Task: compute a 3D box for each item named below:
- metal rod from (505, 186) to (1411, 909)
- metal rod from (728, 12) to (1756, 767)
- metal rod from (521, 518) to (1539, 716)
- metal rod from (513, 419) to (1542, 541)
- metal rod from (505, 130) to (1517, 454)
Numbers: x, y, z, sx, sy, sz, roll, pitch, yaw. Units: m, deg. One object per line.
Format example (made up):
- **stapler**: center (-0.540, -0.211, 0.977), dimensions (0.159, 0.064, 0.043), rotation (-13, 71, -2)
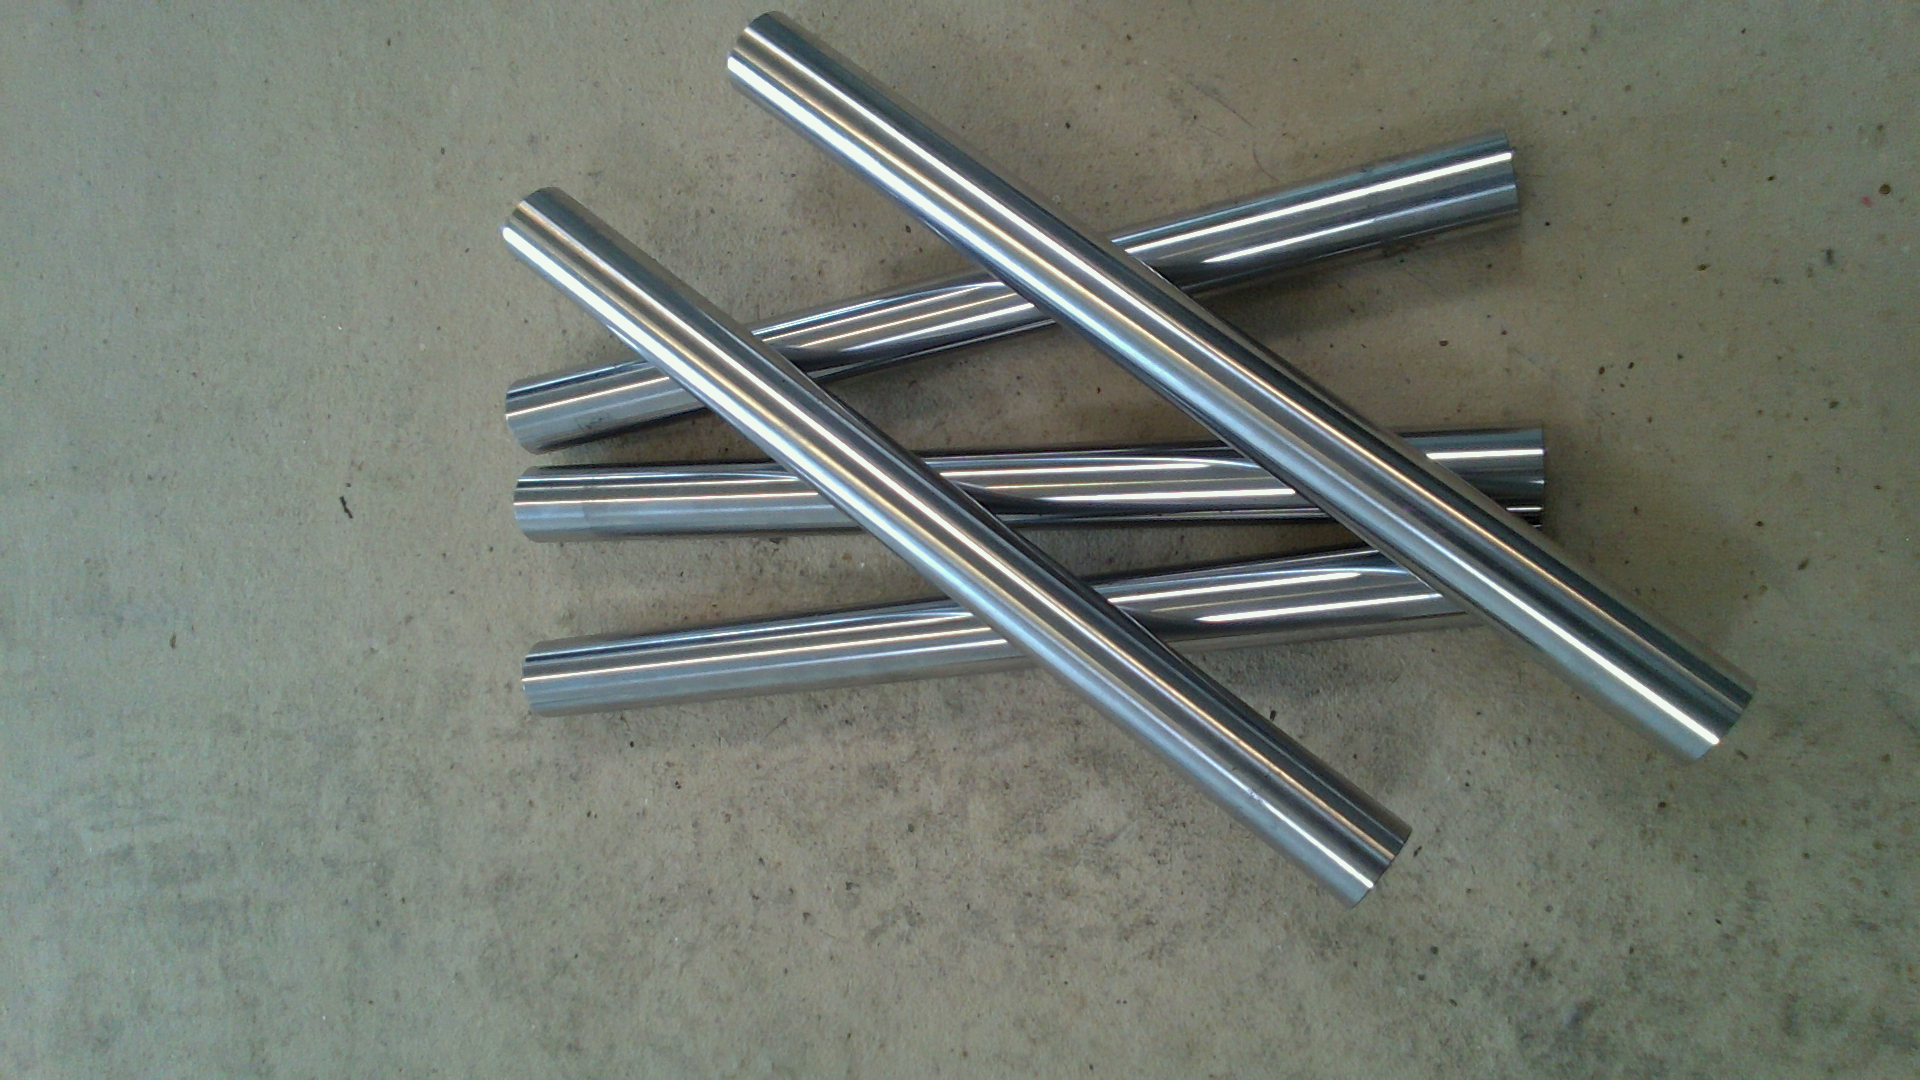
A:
- **metal rod**: center (-0.013, -0.008, 0.374), dimensions (0.299, 0.025, 0.025), rotation (37, 102, 16)
- **metal rod**: center (0.057, -0.048, 0.349), dimensions (0.299, 0.025, 0.025), rotation (38, 102, 16)
- **metal rod**: center (0.006, 0.026, 0.394), dimensions (0.299, 0.025, 0.025), rotation (-8, 87, 20)
- **metal rod**: center (0.004, -0.015, 0.394), dimensions (0.299, 0.025, 0.025), rotation (-1, 90, 20)
- **metal rod**: center (-0.001, -0.065, 0.396), dimensions (0.299, 0.025, 0.025), rotation (-10, 87, 20)
